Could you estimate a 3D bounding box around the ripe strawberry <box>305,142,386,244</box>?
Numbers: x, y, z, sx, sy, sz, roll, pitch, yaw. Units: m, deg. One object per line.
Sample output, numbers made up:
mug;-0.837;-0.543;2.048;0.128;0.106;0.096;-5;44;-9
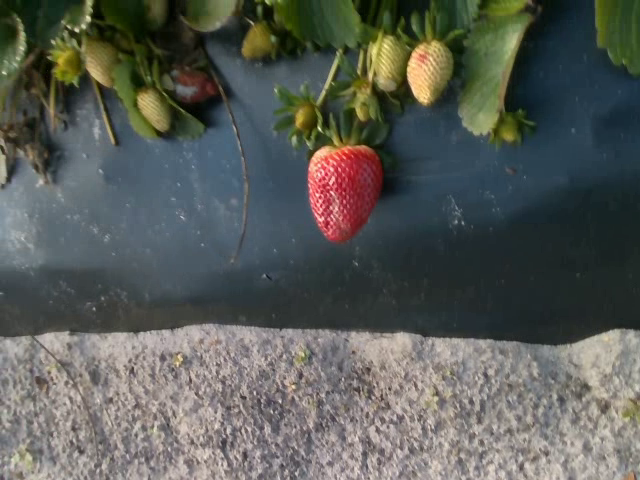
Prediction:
ripe strawberry;0.013;-0.031;0.392;0.052;0.068;0.044;-2;-15;19
